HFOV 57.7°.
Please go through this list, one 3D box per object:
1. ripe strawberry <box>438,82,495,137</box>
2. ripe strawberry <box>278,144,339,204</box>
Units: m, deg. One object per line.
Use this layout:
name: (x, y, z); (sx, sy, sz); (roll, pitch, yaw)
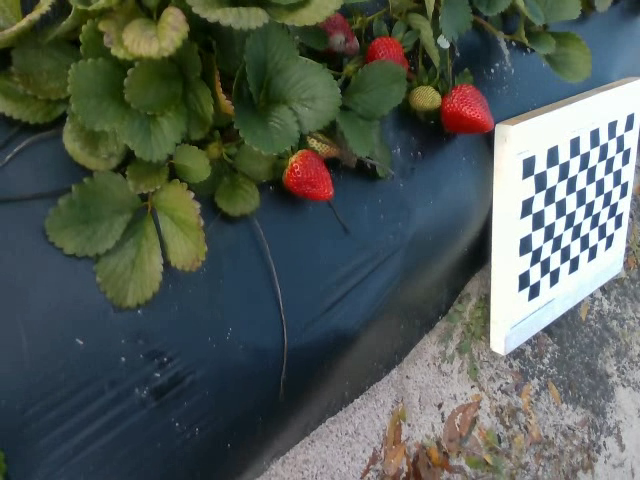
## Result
ripe strawberry: (0.064, -0.051, 0.237); (0.022, 0.025, 0.030); (-25, 40, -3)
ripe strawberry: (-0.003, -0.020, 0.195); (0.018, 0.021, 0.017); (-44, -4, -22)
